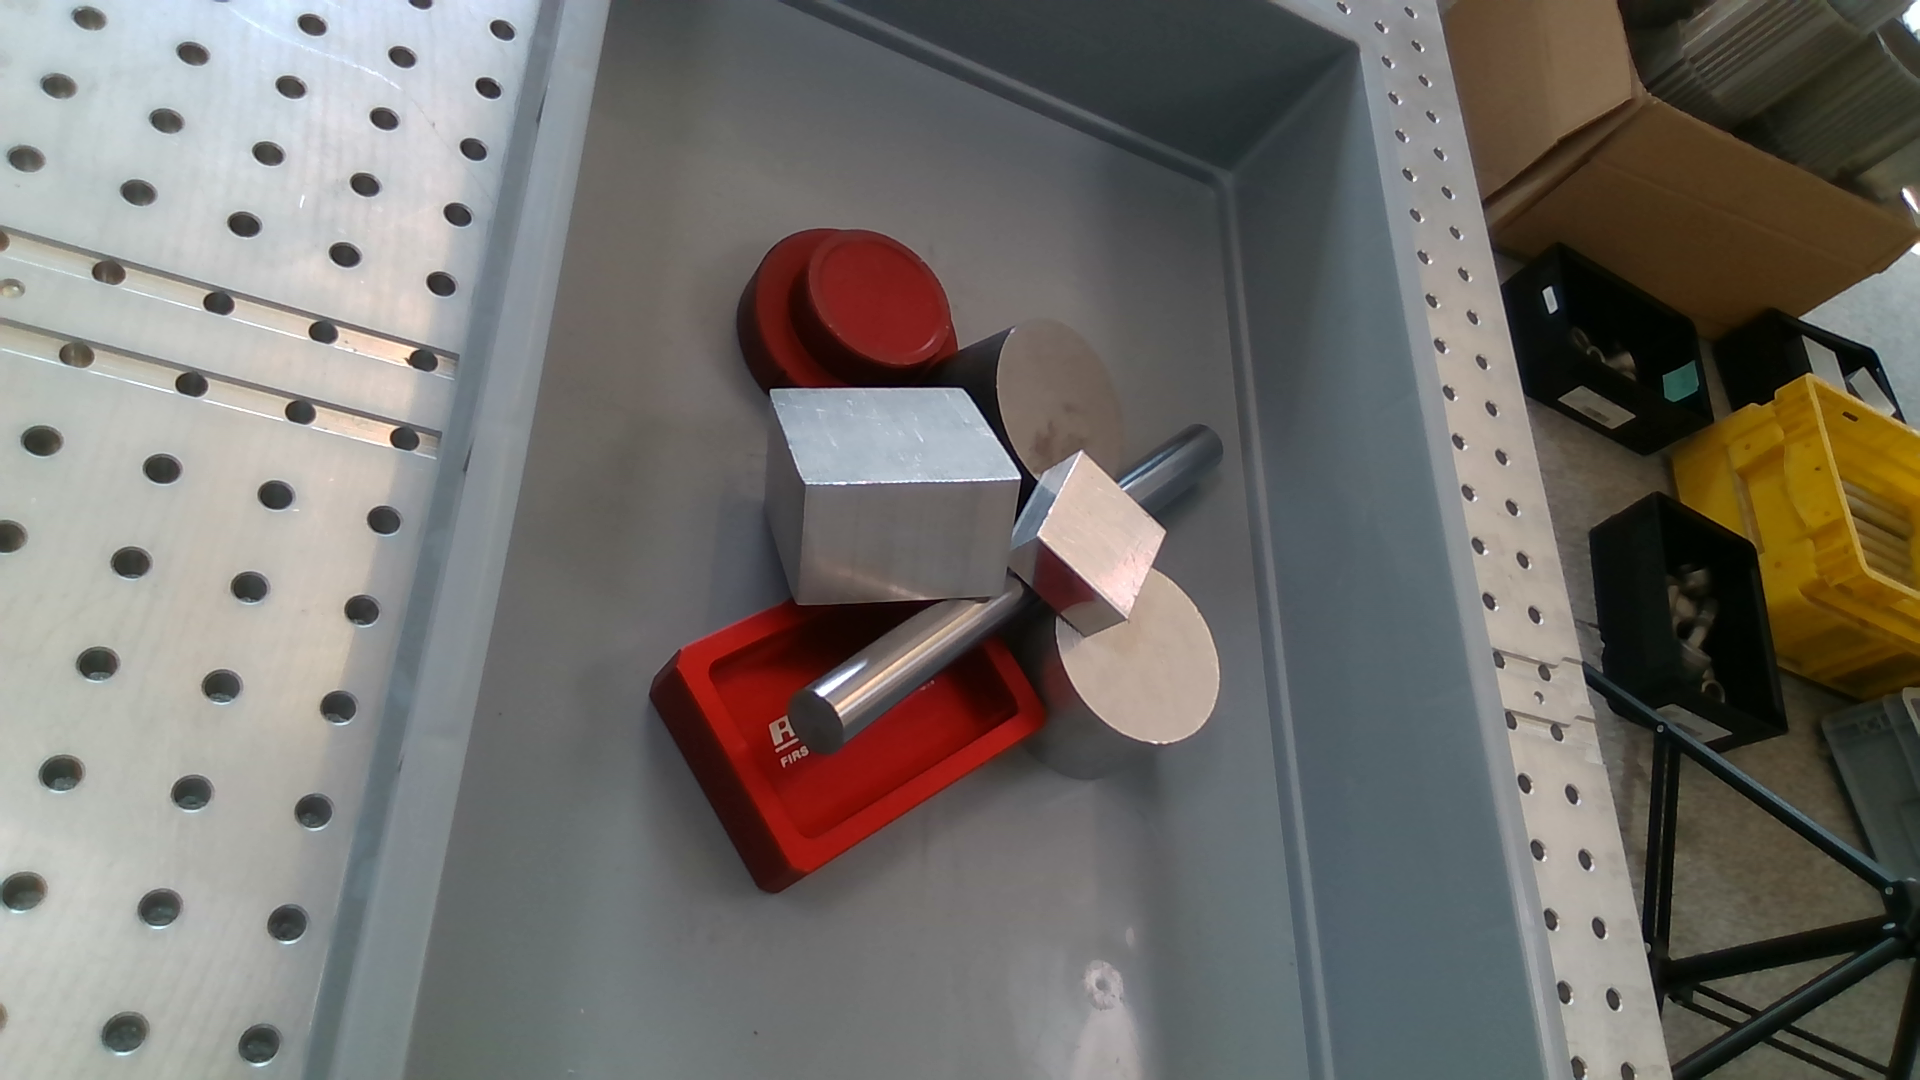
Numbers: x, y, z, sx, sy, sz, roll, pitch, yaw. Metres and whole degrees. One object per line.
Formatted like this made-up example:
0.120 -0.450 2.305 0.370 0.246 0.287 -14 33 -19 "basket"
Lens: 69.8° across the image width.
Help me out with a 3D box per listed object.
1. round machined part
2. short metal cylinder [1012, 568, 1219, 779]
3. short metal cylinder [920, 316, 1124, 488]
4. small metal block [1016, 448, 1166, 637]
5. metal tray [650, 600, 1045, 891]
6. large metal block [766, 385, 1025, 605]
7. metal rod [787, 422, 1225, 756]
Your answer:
-0.044 -0.095 0.597 0.098 0.042 0.098 14 59 -25 "round machined part"
0.061 0.054 0.578 0.080 0.050 0.080 14 59 -25 "short metal cylinder"
0.026 -0.051 0.598 0.080 0.050 0.080 16 66 -42 "short metal cylinder"
0.049 0.001 0.546 0.050 0.025 0.050 42 50 -16 "small metal block"
-0.040 0.062 0.524 0.130 0.030 0.090 -26 80 -38 "metal tray"
-0.029 -0.020 0.528 0.080 0.050 0.080 -2 31 -17 "large metal block"
0.036 0.007 0.571 0.025 0.025 0.300 53 42 4 "metal rod"
